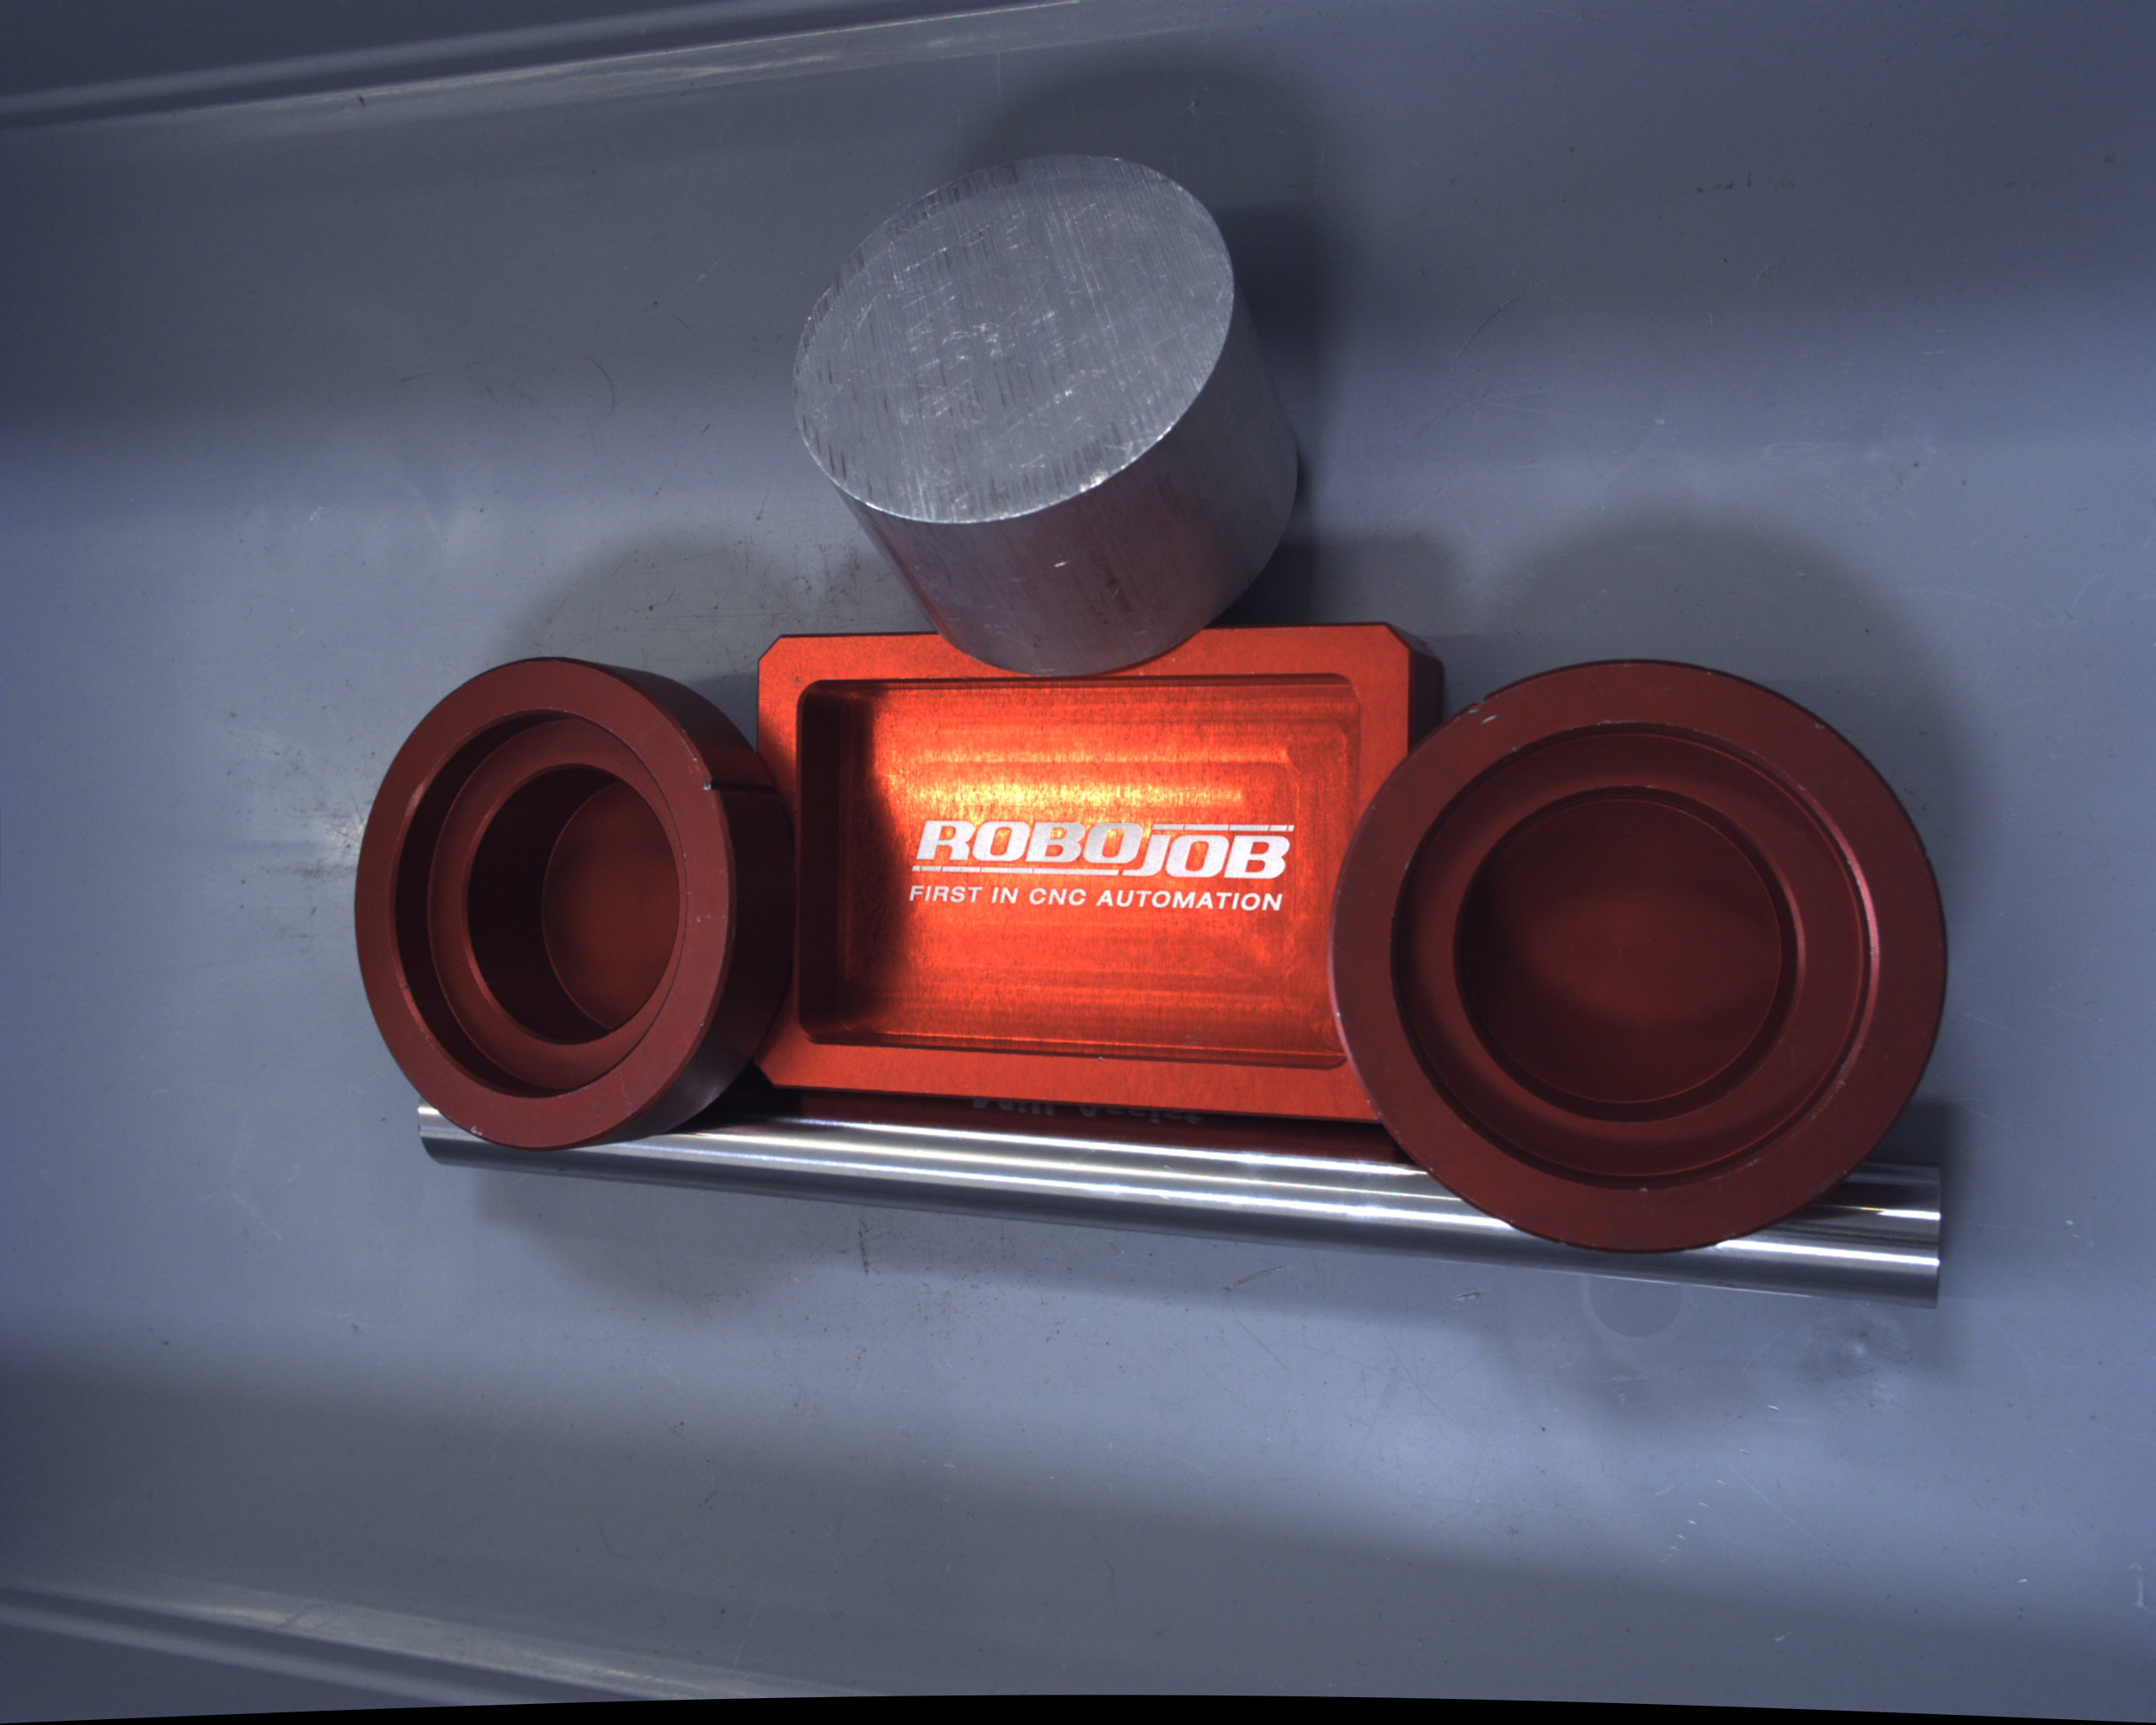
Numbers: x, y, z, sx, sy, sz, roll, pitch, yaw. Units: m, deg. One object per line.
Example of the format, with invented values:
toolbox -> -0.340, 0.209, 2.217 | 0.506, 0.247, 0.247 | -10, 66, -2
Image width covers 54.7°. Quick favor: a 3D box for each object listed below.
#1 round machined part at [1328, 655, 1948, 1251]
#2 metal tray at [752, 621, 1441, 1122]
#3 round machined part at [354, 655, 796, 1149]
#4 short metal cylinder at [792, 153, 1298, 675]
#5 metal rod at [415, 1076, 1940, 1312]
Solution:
round machined part -> 0.094, 0.015, 0.361 | 0.098, 0.042, 0.097 | 0, 88, 12
metal tray -> 0.002, 0.000, 0.404 | 0.130, 0.030, 0.089 | 1, 91, 19
round machined part -> -0.098, 0.008, 0.429 | 0.098, 0.042, 0.097 | -1, 87, 28
short metal cylinder -> -0.005, -0.081, 0.381 | 0.080, 0.050, 0.080 | -8, 61, 15
metal rod -> 0.005, 0.059, 0.406 | 0.301, 0.025, 0.025 | 2, 91, 19
